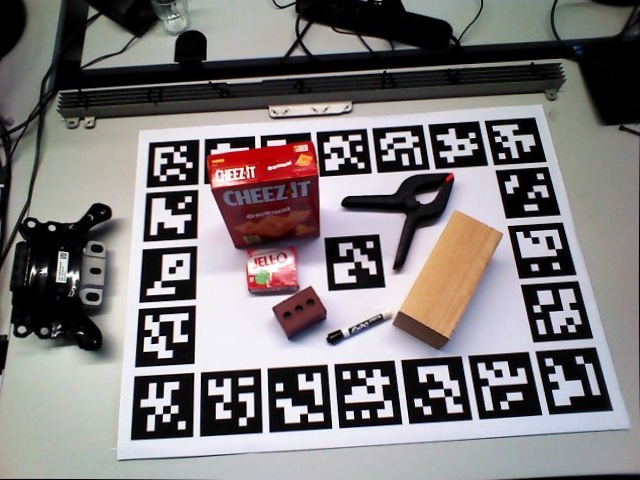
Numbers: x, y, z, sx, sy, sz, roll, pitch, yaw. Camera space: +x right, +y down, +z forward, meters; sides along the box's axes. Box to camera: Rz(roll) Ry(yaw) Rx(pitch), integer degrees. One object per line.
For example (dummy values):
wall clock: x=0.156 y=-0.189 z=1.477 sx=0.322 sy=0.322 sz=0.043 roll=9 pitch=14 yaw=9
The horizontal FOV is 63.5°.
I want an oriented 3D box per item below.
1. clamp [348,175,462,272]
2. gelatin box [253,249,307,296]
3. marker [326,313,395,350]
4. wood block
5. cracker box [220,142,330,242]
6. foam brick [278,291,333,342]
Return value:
clamp: x=0.177 y=-0.058 z=0.931 sx=0.202 sy=0.037 sz=0.165 roll=-33 pitch=73 yaw=-10
gelatin box: x=-0.070 y=0.057 z=0.901 sx=0.089 sy=0.030 sz=0.073 roll=-5 pitch=71 yaw=0
marker: x=0.067 y=0.154 z=0.863 sx=0.121 sy=0.020 sz=0.019 roll=-23 pitch=72 yaw=-7
wood block: x=0.225 y=0.071 z=0.857 sx=0.090 sy=0.091 sz=0.205 roll=29 pitch=70 yaw=14
cracker box: x=-0.064 y=-0.072 z=0.843 sx=0.164 sy=0.214 sz=0.071 roll=-7 pitch=68 yaw=-3
foam brick: x=-0.025 y=0.126 z=0.860 sx=0.078 sy=0.051 sz=0.052 roll=-27 pitch=73 yaw=-8
